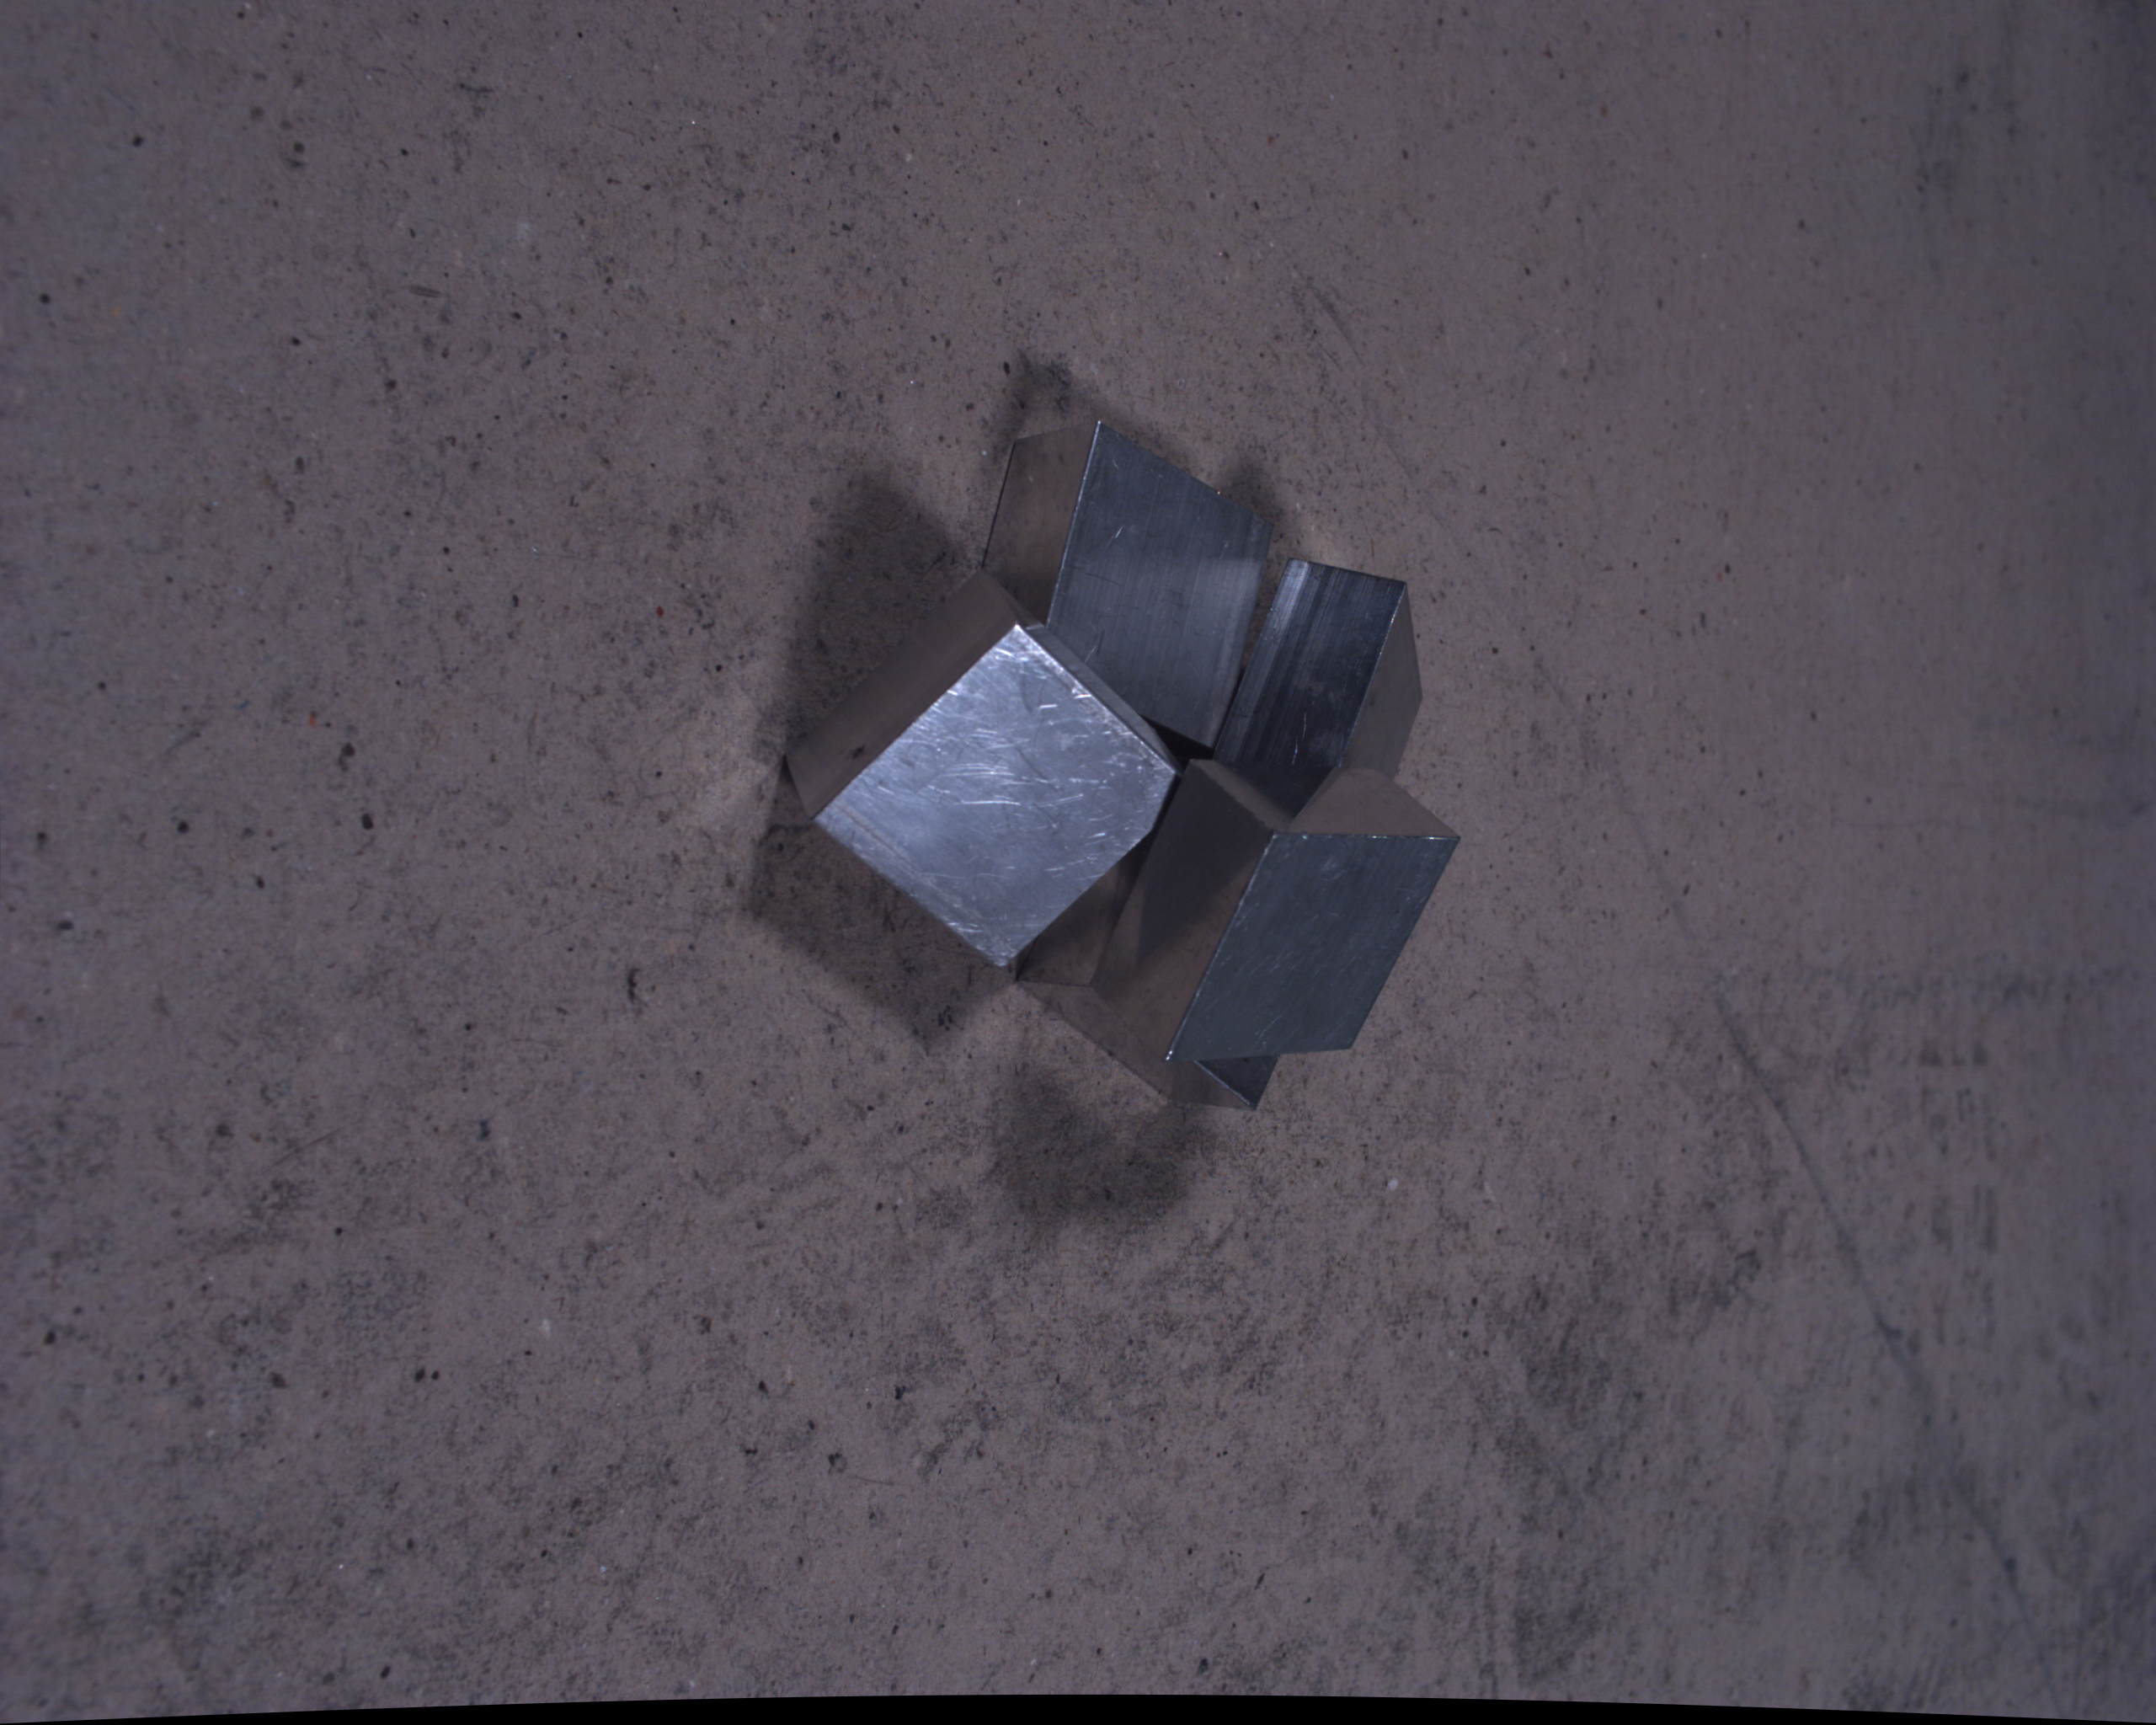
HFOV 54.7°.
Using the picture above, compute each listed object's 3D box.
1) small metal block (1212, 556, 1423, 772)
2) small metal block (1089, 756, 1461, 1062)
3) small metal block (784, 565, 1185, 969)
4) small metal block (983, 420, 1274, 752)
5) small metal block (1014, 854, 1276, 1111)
[{"bbox_3d":[0.051,-0.028,0.437,0.050,0.025,0.050,62,47,-64],"label":"small metal block"},{"bbox_3d":[0.037,0.009,0.392,0.050,0.025,0.050,0,123,-40],"label":"small metal block"},{"bbox_3d":[-0.016,-0.017,0.380,0.050,0.025,0.050,-43,124,9],"label":"small metal block"},{"bbox_3d":[0.008,-0.053,0.415,0.050,0.025,0.050,22,76,-38],"label":"small metal block"},{"bbox_3d":[0.022,0.016,0.427,0.050,0.025,0.050,40,66,-33],"label":"small metal block"}]
